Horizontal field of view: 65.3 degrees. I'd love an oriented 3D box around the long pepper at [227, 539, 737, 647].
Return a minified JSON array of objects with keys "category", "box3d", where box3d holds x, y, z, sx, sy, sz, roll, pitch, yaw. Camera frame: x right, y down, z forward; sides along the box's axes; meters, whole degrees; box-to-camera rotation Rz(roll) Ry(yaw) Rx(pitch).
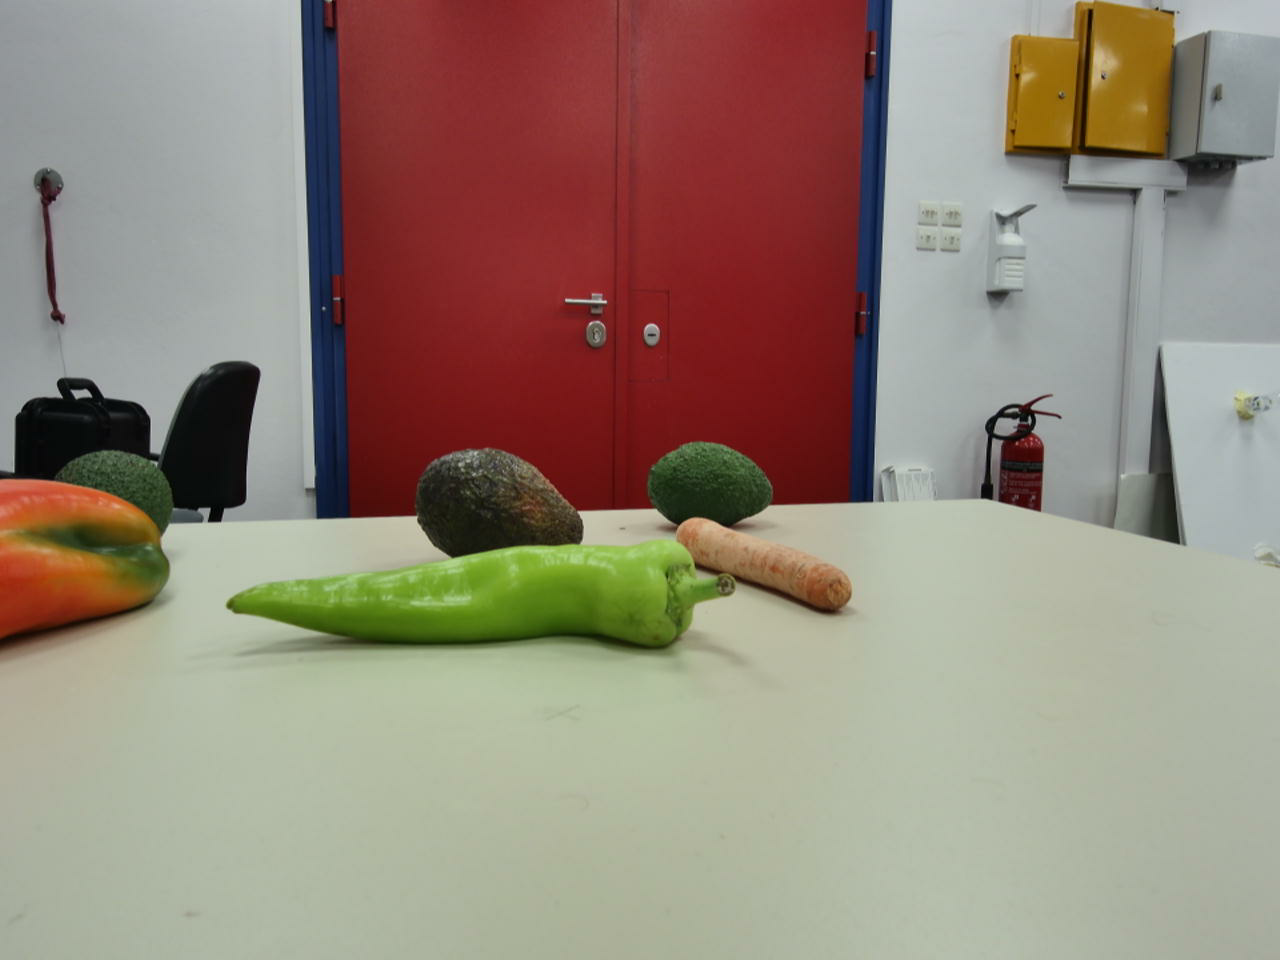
[{"category":"long pepper","box3d":[-0.063,0.048,0.428,0.205,0.045,0.065,0,4,3]}]
